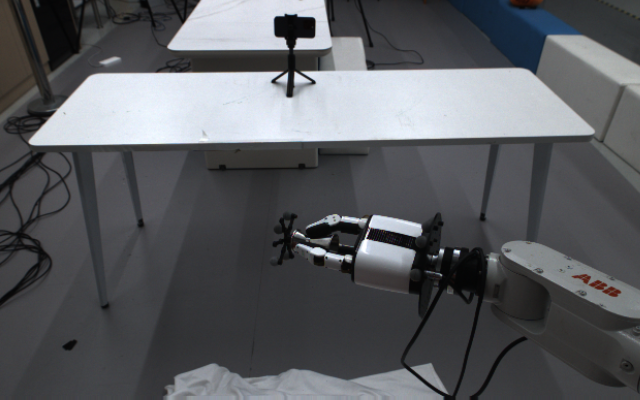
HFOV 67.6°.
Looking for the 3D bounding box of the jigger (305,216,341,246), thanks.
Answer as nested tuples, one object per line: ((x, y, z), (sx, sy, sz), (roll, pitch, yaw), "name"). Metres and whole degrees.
((-0.003, 0.068, 0.779), (0.071, 0.043, 0.043), (8, 34, 23), "jigger")
